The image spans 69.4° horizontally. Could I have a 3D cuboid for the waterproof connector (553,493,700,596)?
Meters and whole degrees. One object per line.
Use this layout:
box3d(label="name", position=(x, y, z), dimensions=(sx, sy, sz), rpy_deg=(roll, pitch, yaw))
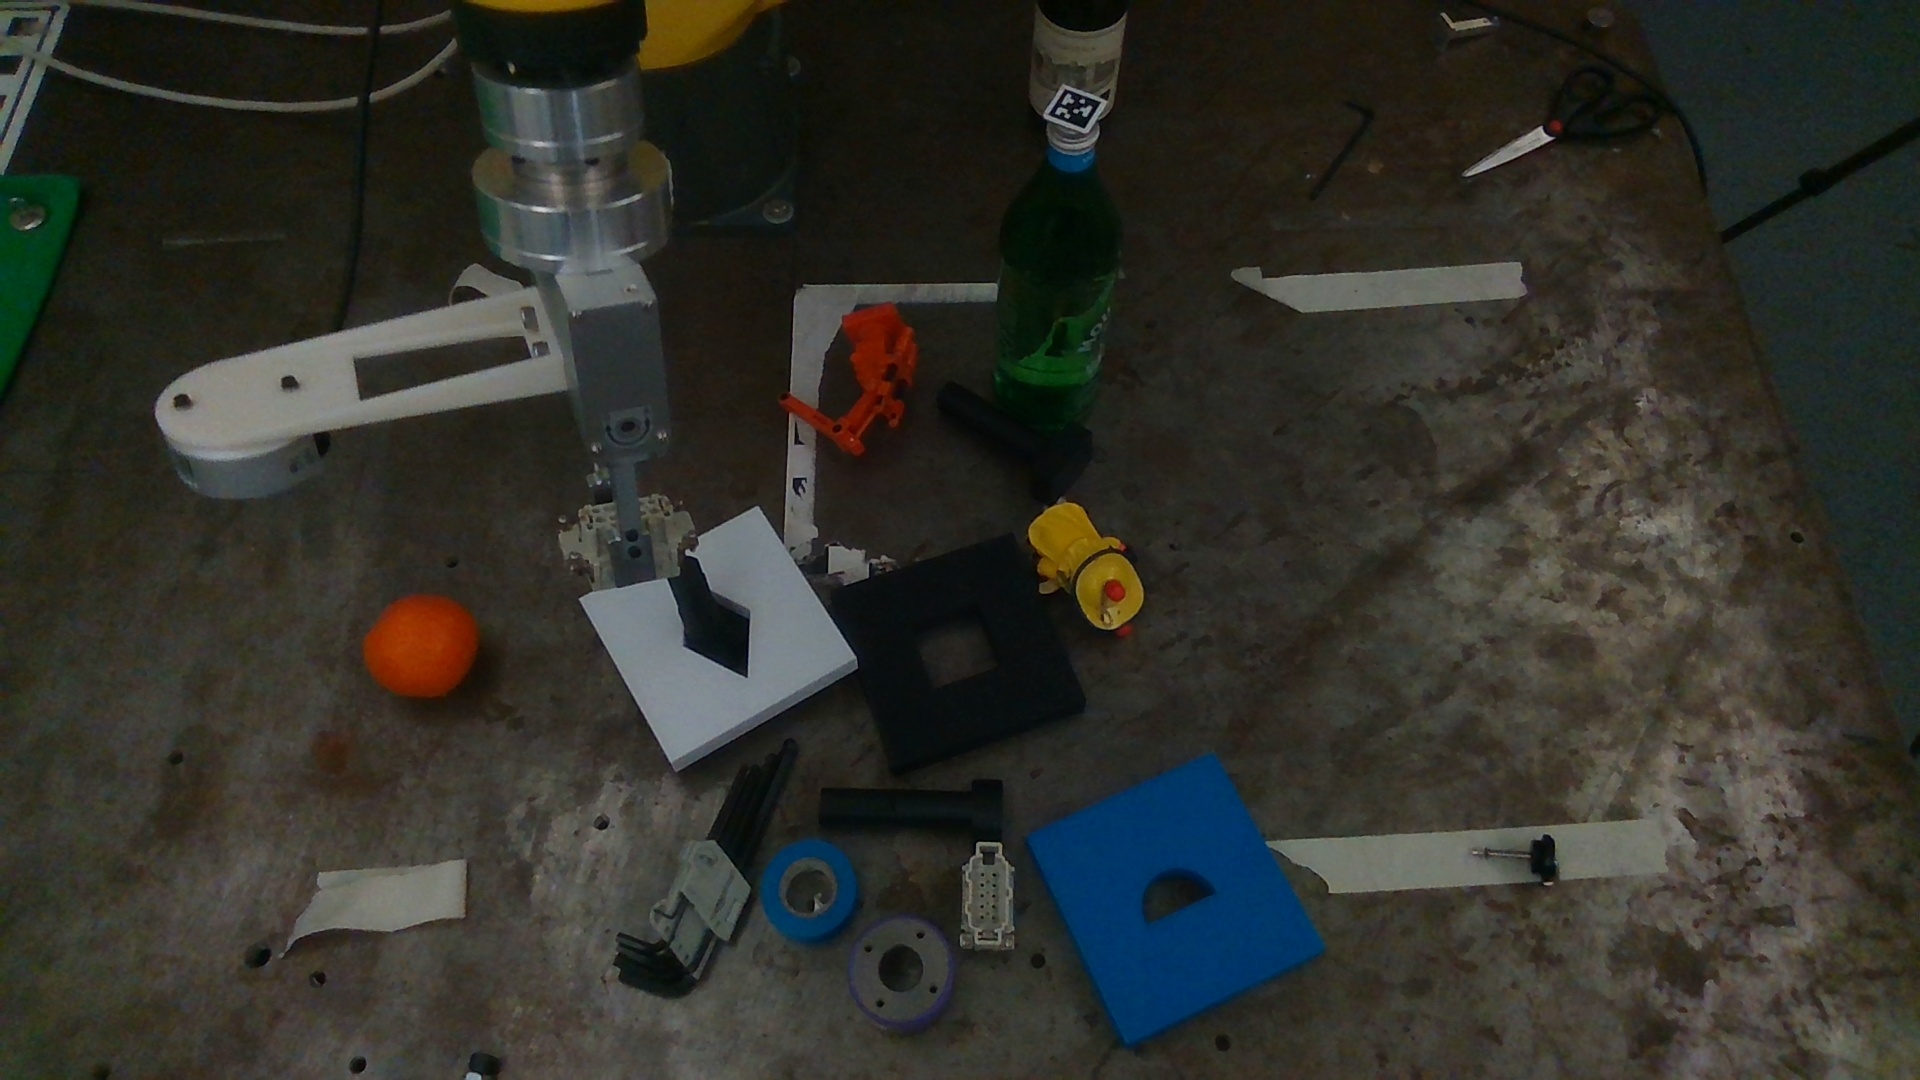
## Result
box3d(label="waterproof connector", position=(-0.166, -0.001, 0.690), dimensions=(0.069, 0.038, 0.037), rpy_deg=(-13, 50, -18))
